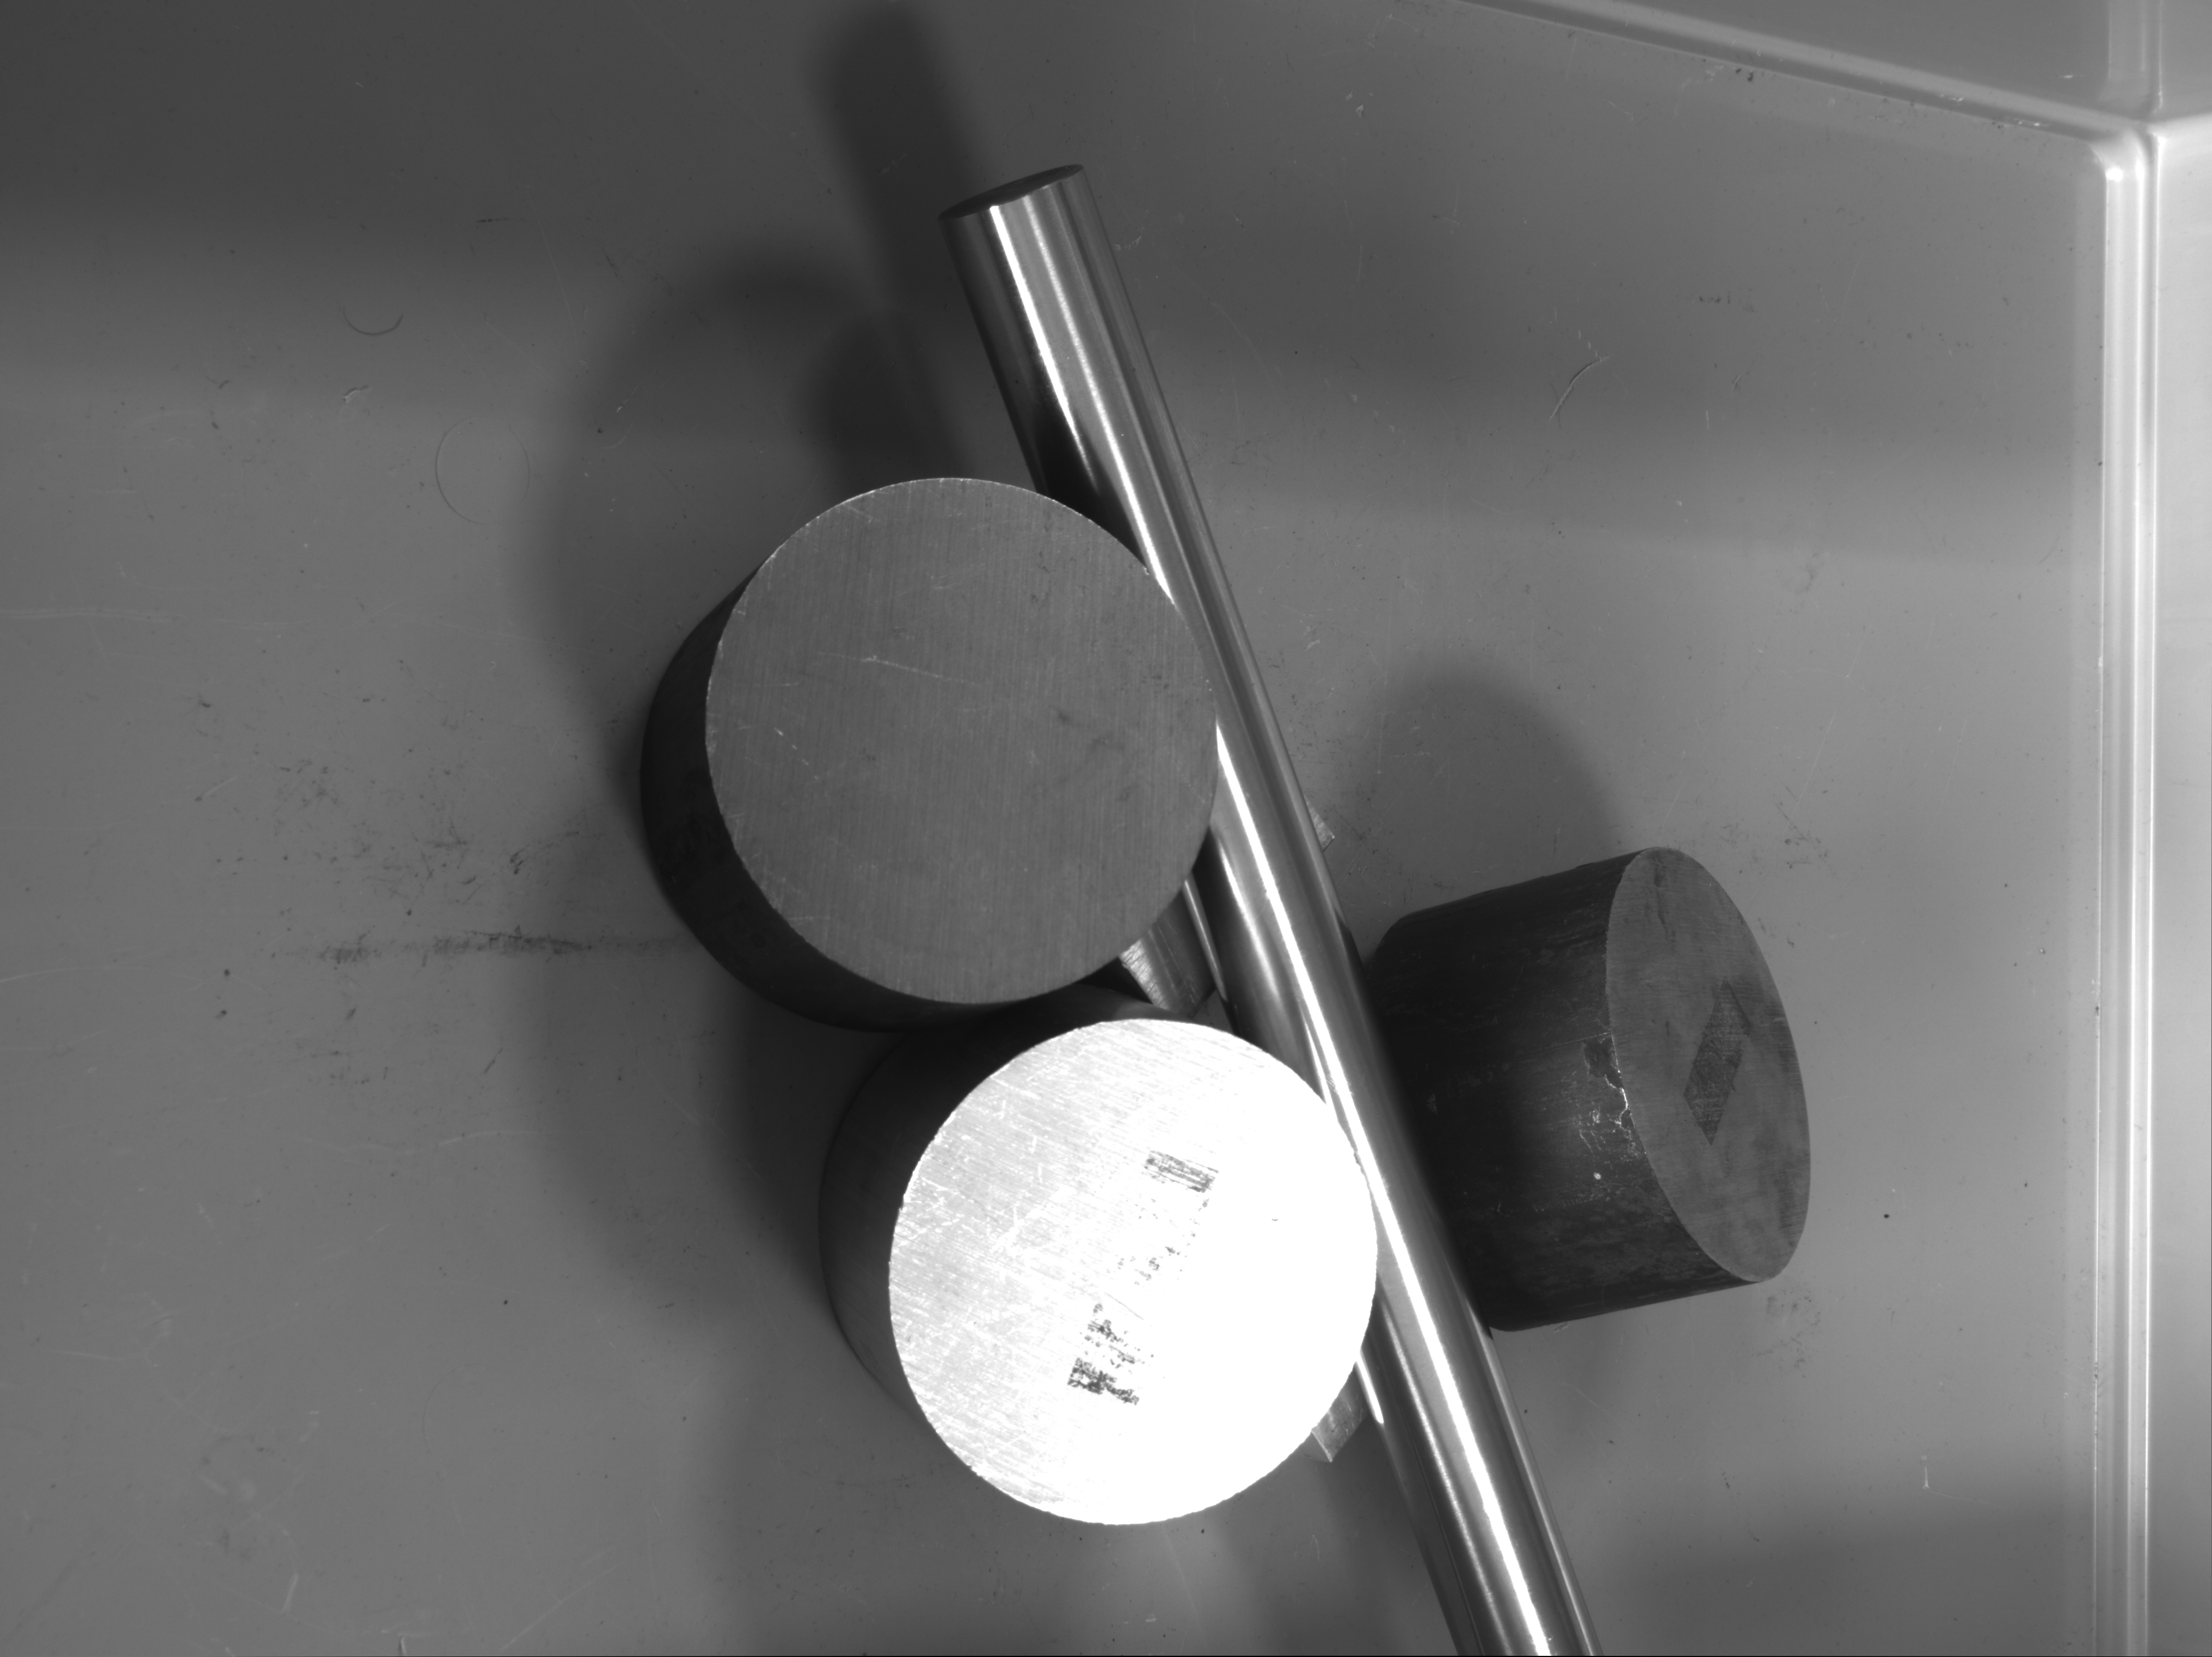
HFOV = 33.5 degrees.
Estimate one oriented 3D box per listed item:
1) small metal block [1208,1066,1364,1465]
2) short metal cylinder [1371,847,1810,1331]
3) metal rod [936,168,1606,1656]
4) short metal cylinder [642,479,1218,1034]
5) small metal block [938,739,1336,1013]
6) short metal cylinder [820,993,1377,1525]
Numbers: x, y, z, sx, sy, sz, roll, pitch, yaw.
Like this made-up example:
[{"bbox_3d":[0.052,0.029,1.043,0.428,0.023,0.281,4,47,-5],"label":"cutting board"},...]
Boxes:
[{"bbox_3d":[0.035,0.078,0.663,0.050,0.025,0.050,-48,118,-29],"label":"small metal block"},{"bbox_3d":[0.089,0.048,0.676,0.080,0.050,0.080,33,49,-47],"label":"short metal cylinder"},{"bbox_3d":[0.034,0.034,0.630,0.025,0.025,0.300,-32,109,-35],"label":"metal rod"},{"bbox_3d":[-0.029,-0.010,0.577,0.080,0.050,0.080,3,81,-18],"label":"short metal cylinder"},{"bbox_3d":[0.006,0.000,0.640,0.050,0.025,0.050,-51,119,-28],"label":"small metal block"},{"bbox_3d":[-0.002,0.068,0.599,0.080,0.050,0.080,-1,94,-17],"label":"short metal cylinder"}]
